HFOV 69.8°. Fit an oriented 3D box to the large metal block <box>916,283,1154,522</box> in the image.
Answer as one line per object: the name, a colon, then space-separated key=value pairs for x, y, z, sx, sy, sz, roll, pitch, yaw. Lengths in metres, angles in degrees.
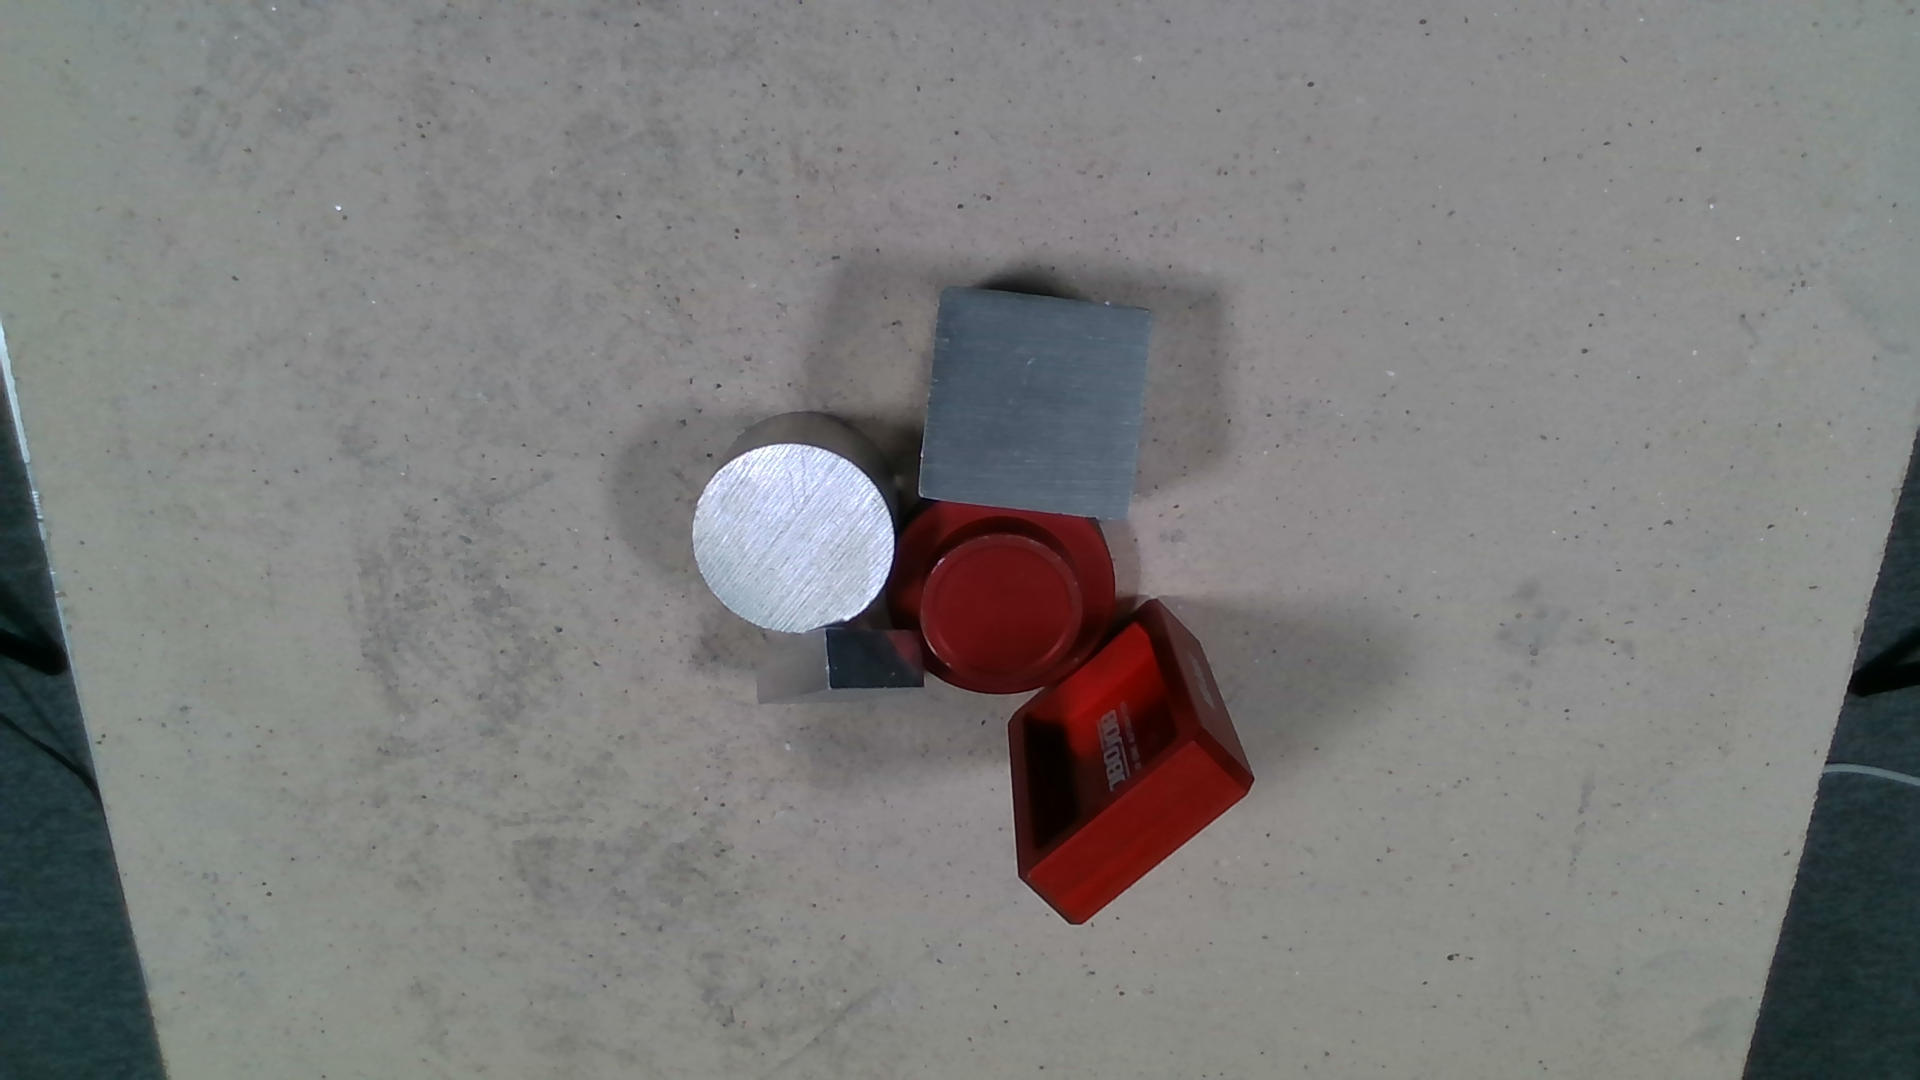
large metal block: x=0.027 y=-0.052 z=0.539 sx=0.080 sy=0.050 sz=0.080 roll=7 pitch=93 yaw=-2

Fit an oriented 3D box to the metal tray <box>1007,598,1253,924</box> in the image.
metal tray: x=0.063 y=0.085 z=0.559 sx=0.090 sy=0.130 sz=0.030 roll=-42 pitch=105 yaw=14

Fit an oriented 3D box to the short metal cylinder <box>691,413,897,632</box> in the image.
short metal cylinder: x=-0.066 y=-0.009 z=0.569 sx=0.080 sy=0.050 sz=0.080 roll=0 pitch=110 yaw=0

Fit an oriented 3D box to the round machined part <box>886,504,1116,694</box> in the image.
round machined part: x=0.017 y=0.022 z=0.585 sx=0.098 sy=0.042 sz=0.098 roll=0 pitch=110 yaw=0

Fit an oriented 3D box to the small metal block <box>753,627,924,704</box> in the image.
small metal block: x=-0.051 y=0.053 z=0.580 sx=0.050 sy=0.050 sz=0.025 roll=-16 pitch=75 yaw=46
